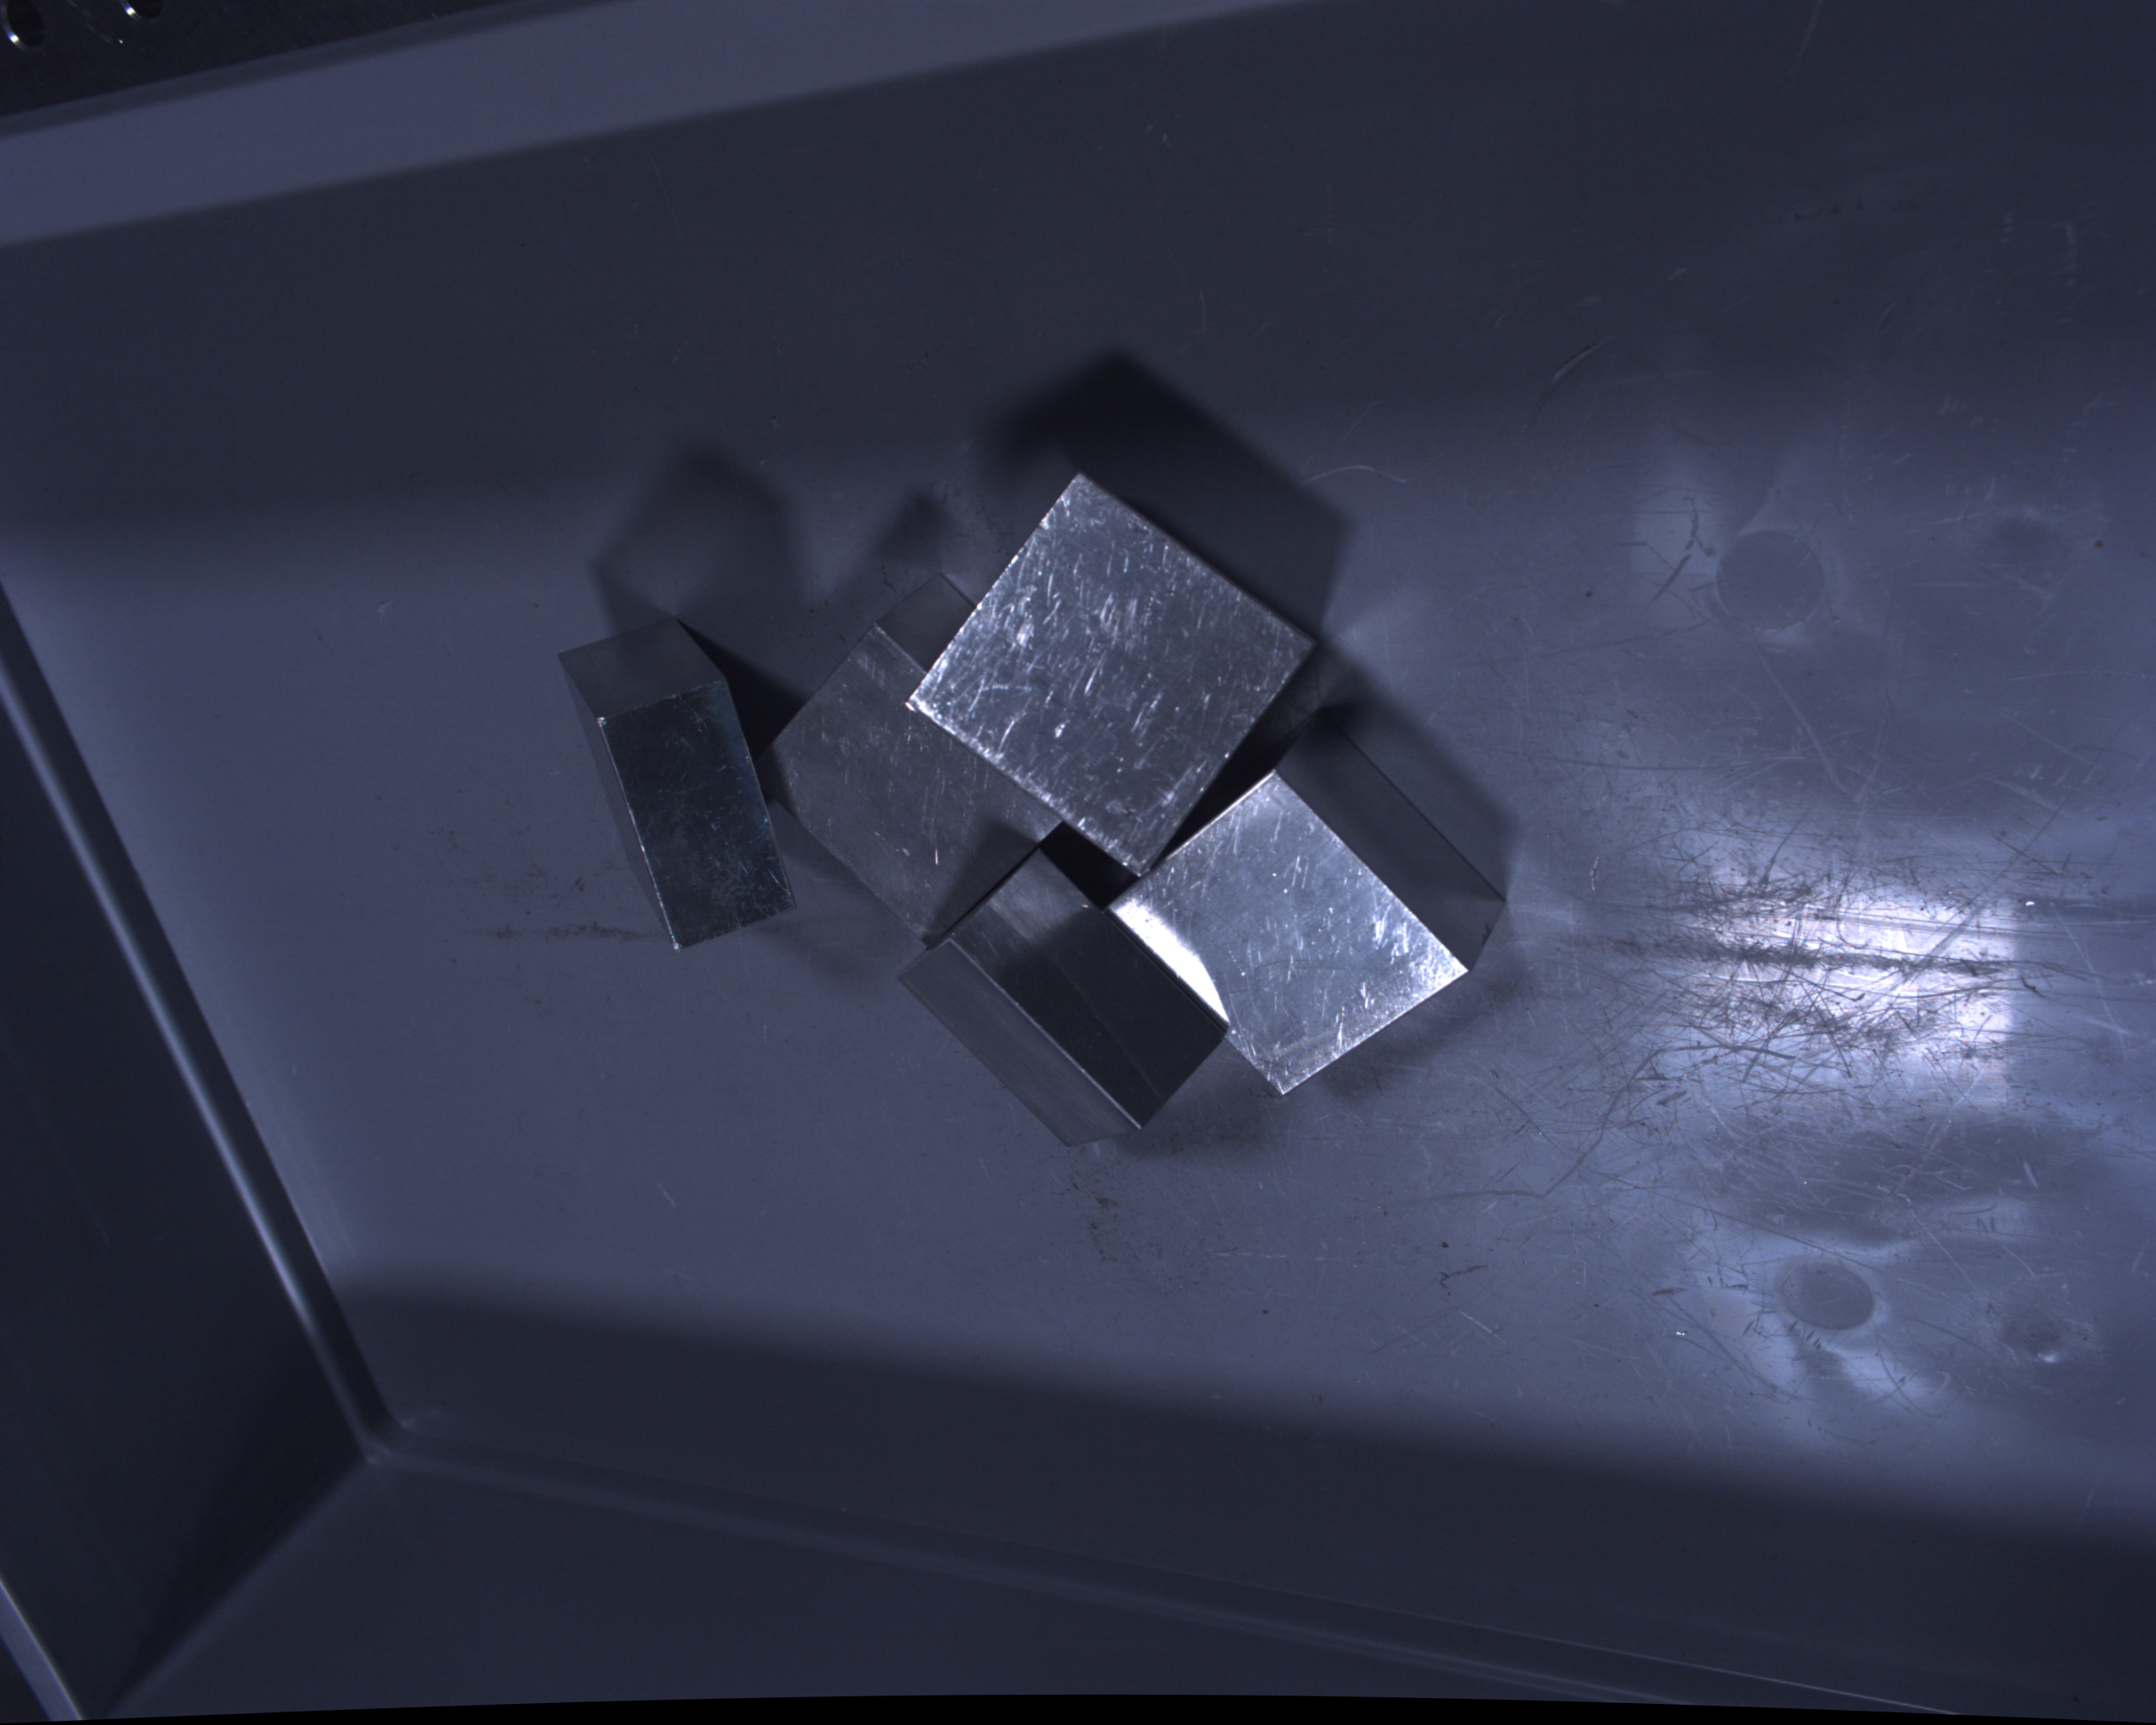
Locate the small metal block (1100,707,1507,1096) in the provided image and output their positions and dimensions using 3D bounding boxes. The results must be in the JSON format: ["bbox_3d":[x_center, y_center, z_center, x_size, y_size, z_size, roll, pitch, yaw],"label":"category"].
[{"bbox_3d":[0.042,0.008,0.388,0.050,0.025,0.050,46,129,-4],"label":"small metal block"}]

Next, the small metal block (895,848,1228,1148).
[{"bbox_3d":[-0.005,0.028,0.410,0.050,0.025,0.050,45,160,-3],"label":"small metal block"}]

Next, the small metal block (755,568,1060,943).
[{"bbox_3d":[-0.028,-0.020,0.407,0.050,0.025,0.050,44,129,-3],"label":"small metal block"}]

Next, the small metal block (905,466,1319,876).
[{"bbox_3d":[0.007,-0.033,0.367,0.050,0.025,0.050,37,94,3],"label":"small metal block"}]

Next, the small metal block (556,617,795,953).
[{"bbox_3d":[-0.081,-0.017,0.420,0.050,0.025,0.050,-137,30,-61],"label":"small metal block"}]
